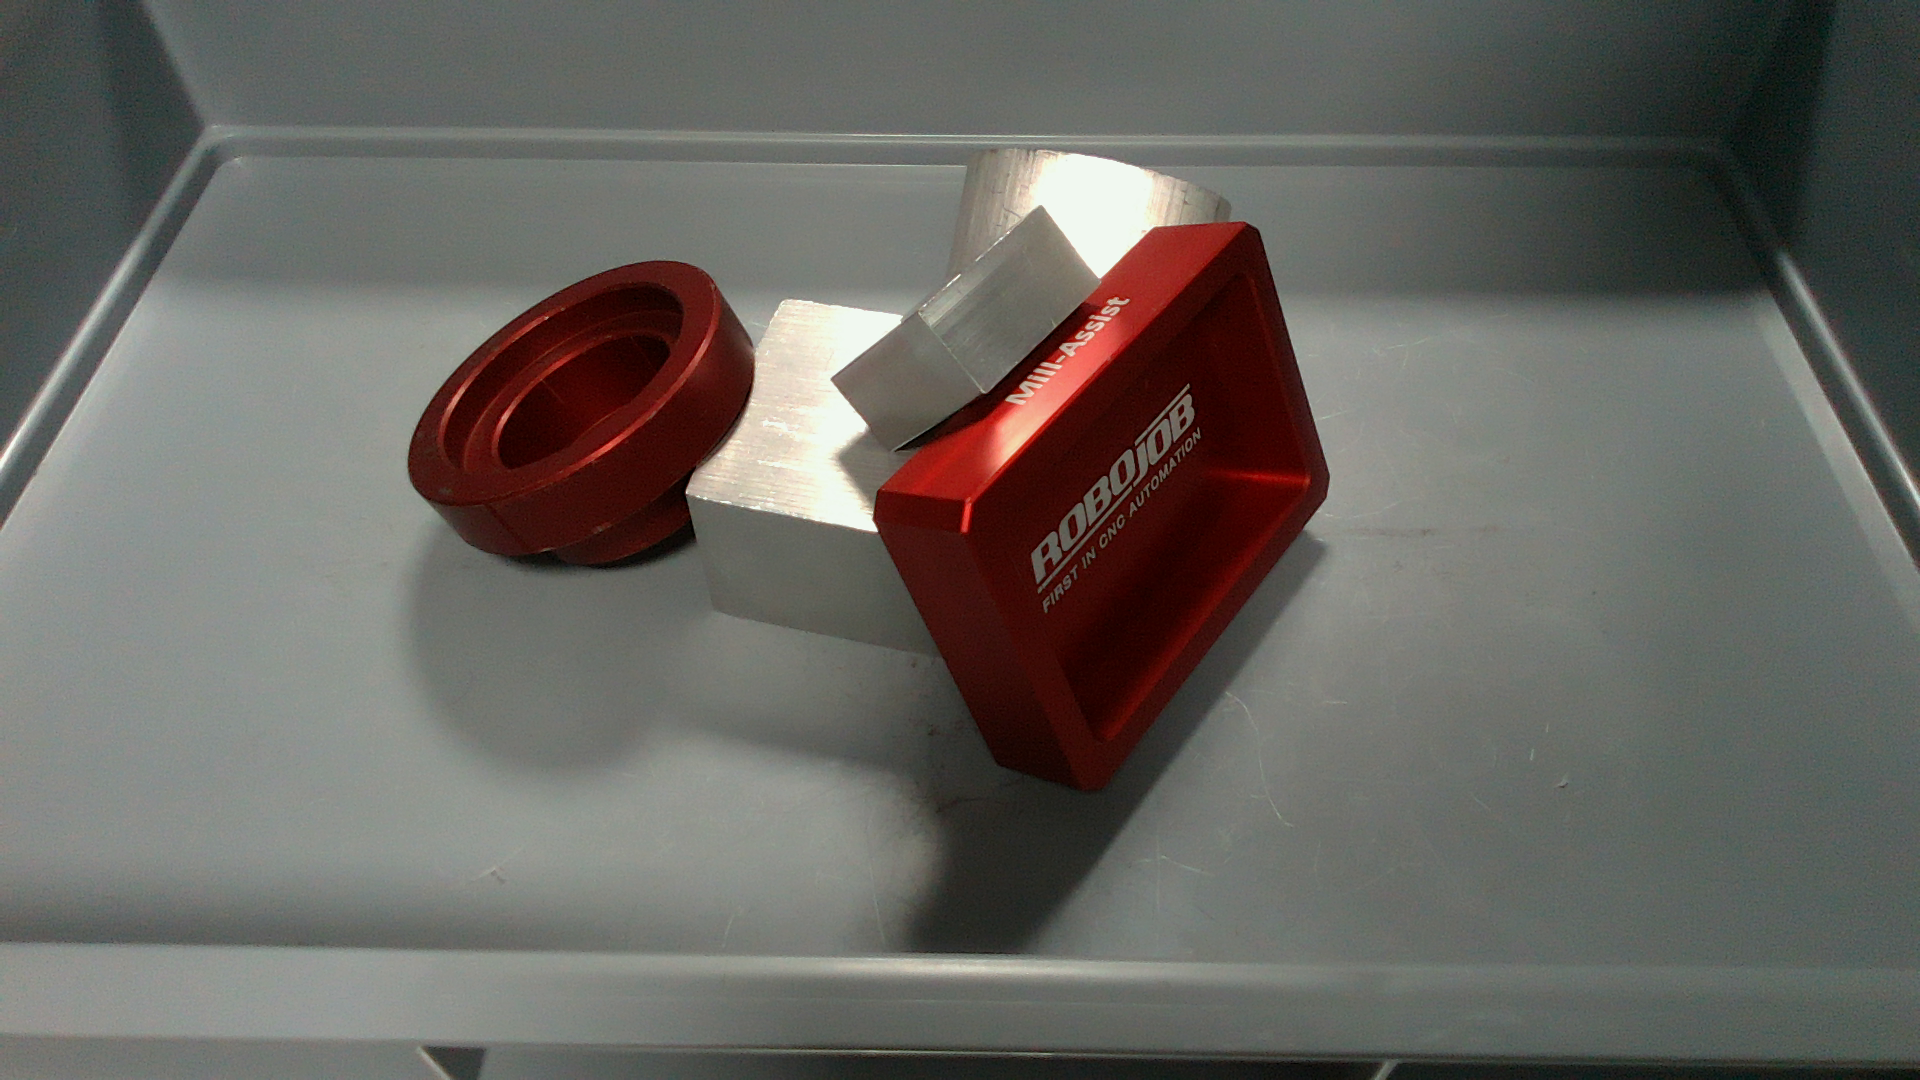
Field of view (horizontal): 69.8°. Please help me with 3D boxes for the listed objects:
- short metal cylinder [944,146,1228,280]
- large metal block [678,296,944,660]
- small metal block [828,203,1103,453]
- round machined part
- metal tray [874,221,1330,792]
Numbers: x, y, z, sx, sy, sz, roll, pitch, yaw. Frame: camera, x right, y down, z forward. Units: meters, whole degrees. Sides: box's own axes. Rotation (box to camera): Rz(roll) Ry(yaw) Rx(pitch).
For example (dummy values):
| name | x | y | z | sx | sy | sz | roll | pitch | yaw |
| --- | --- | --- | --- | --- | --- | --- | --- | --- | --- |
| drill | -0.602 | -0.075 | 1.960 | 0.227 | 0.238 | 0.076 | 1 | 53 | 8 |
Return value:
| name | x | y | z | sx | sy | sz | roll | pitch | yaw |
| --- | --- | --- | --- | --- | --- | --- | --- | --- | --- |
| short metal cylinder | 0.037 | -0.083 | 0.416 | 0.080 | 0.080 | 0.050 | 12 | 95 | 10 |
| large metal block | -0.023 | -0.018 | 0.389 | 0.080 | 0.050 | 0.080 | 11 | 51 | 9 |
| small metal block | 0.001 | -0.053 | 0.351 | 0.025 | 0.050 | 0.050 | 50 | 59 | -10 |
| round machined part | -0.101 | -0.032 | 0.391 | 0.098 | 0.042 | 0.098 | -17 | 42 | 16 |
| metal tray | 0.044 | -0.012 | 0.356 | 0.030 | 0.090 | 0.130 | 8 | 43 | 44 |
